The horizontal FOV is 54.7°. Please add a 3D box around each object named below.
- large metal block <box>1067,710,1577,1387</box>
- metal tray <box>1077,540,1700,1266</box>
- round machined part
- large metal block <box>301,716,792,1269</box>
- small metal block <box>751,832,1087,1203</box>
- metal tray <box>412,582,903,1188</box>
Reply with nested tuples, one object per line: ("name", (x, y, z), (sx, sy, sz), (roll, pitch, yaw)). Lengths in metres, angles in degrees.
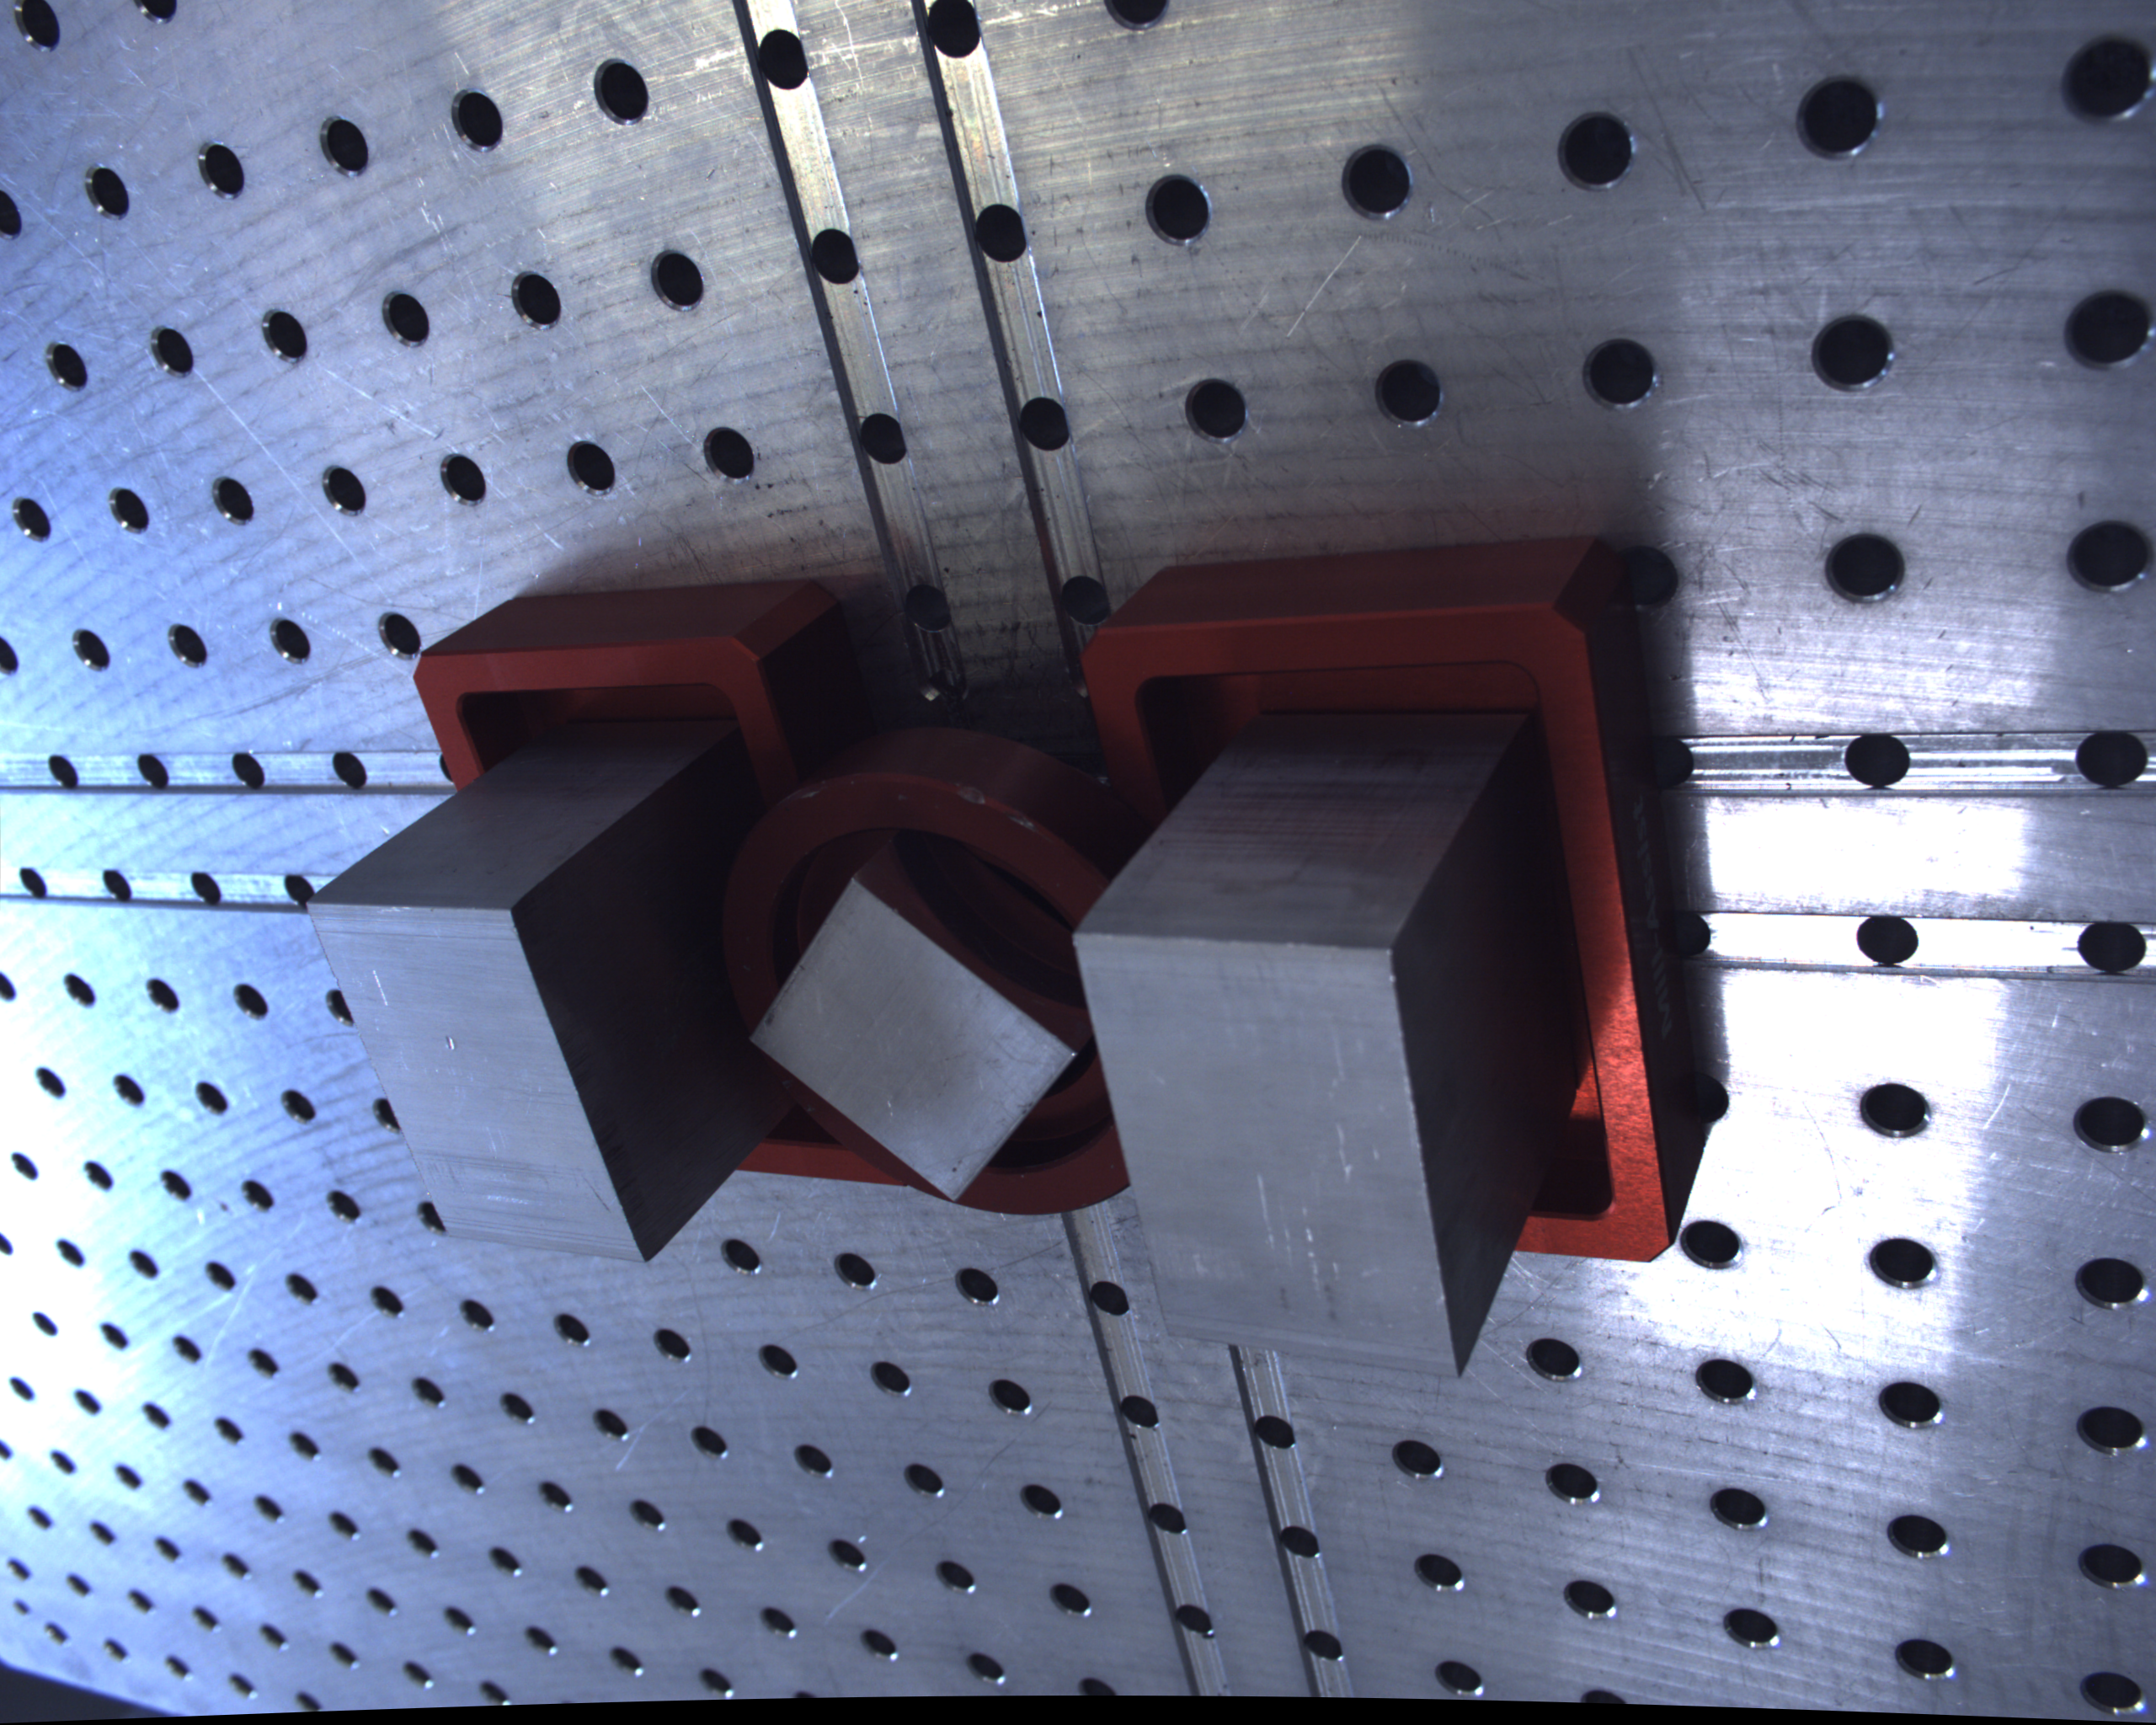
("large metal block", (0.046, 0.027, 0.351), (0.050, 0.080, 0.080), (2, 119, 28))
("metal tray", (0.059, 0.010, 0.382), (0.090, 0.030, 0.129), (0, 118, 28))
("round machined part", (-0.016, 0.017, 0.408), (0.098, 0.042, 0.097), (13, 124, 21))
("large metal block", (-0.097, 0.023, 0.424), (0.050, 0.080, 0.080), (1, 119, 28))
("small metal block", (-0.025, 0.027, 0.389), (0.050, 0.025, 0.050), (38, 129, 2))
("metal tray", (-0.081, 0.007, 0.454), (0.090, 0.030, 0.129), (1, 119, 28))
